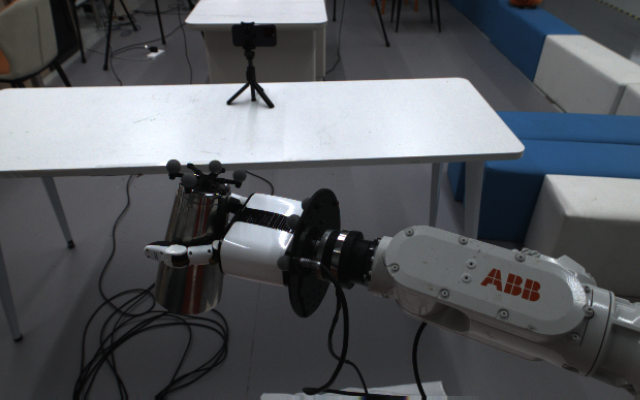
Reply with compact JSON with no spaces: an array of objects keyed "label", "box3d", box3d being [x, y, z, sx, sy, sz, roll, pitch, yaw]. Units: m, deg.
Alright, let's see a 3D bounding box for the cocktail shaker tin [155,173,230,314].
[{"label":"cocktail shaker tin","box3d":[-0.162,0.055,0.642,0.093,0.170,0.093,12,24,-5]}]
